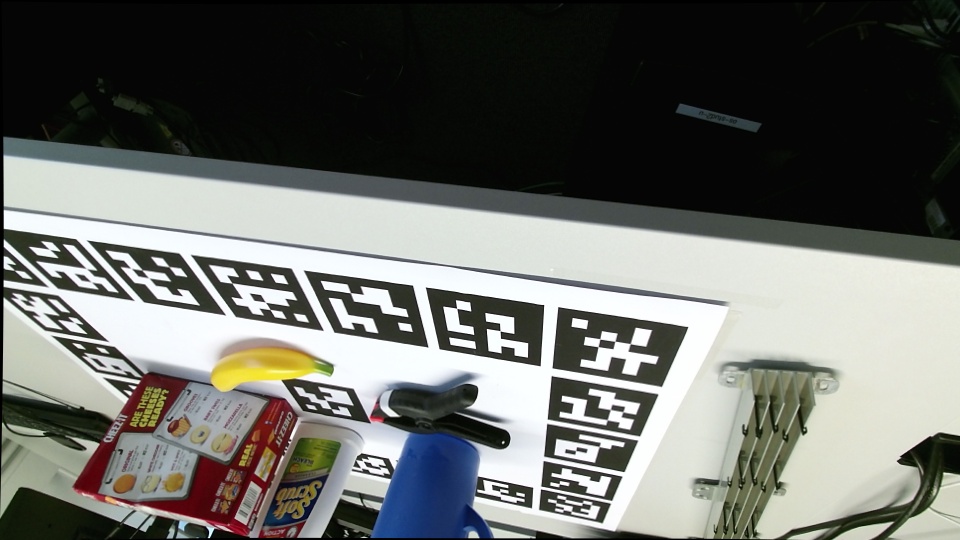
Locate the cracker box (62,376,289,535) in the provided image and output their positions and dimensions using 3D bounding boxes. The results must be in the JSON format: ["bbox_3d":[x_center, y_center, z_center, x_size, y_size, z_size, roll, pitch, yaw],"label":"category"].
[{"bbox_3d":[-0.394,0.244,0.716,0.214,0.163,0.072,8,144,7],"label":"cracker box"}]

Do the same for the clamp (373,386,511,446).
[{"bbox_3d":[-0.057,0.170,0.634,0.165,0.036,0.122,-2,140,23],"label":"clamp"}]

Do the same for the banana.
[{"bbox_3d":[-0.272,0.118,0.656,0.198,0.038,0.074,-17,132,34],"label":"banana"}]

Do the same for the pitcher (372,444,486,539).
[{"bbox_3d":[-0.067,0.349,0.659,0.189,0.241,0.133,-3,139,26],"label":"pitcher"}]

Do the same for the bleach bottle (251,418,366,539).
[{"bbox_3d":[-0.245,0.334,0.732,0.103,0.249,0.068,8,142,9],"label":"bleach bottle"}]
